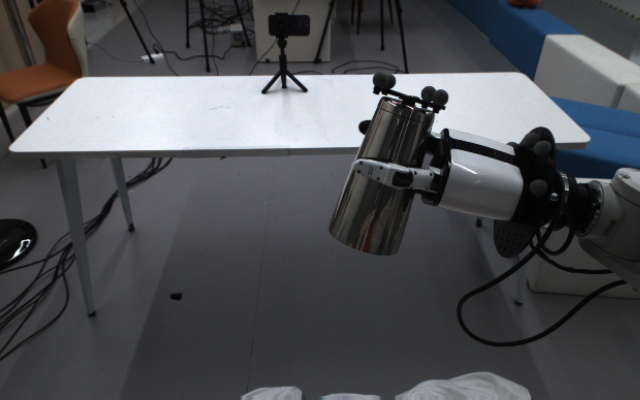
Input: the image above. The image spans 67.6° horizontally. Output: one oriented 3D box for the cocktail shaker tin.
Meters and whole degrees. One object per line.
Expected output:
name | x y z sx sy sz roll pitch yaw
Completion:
cocktail shaker tin | 0.078 -0.031 0.578 0.093 0.170 0.093 15 17 -5
